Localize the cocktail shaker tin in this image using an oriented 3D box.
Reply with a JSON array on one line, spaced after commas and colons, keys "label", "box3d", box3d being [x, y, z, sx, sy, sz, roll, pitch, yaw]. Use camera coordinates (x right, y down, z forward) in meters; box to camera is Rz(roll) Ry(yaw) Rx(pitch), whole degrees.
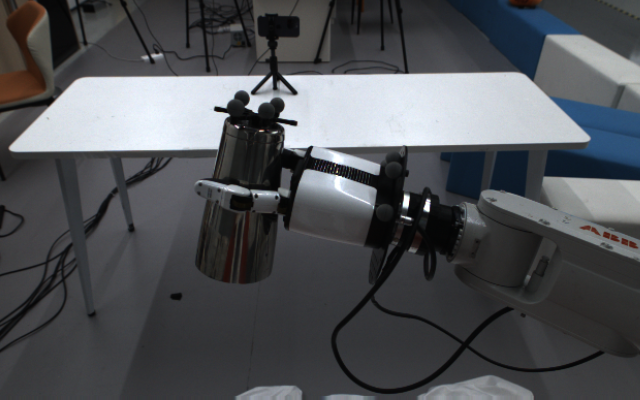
[{"label": "cocktail shaker tin", "box3d": [-0.084, -0.003, 0.547, 0.093, 0.170, 0.093, 11, 19, -4]}]
